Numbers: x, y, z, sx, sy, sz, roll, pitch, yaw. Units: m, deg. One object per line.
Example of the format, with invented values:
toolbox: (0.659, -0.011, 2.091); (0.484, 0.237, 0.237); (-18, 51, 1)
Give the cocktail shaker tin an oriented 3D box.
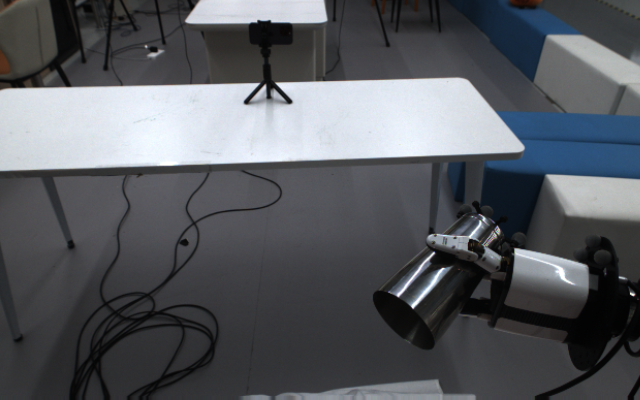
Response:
cocktail shaker tin: (0.156, 0.087, 0.604); (0.170, 0.093, 0.093); (-38, 49, -23)
